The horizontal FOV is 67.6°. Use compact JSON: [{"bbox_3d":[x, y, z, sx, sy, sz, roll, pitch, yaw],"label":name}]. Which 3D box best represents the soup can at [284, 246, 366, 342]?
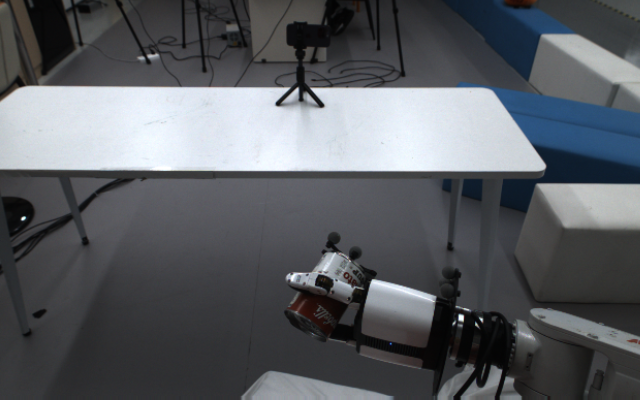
[{"bbox_3d":[0.009,0.125,0.639,0.067,0.067,0.101,22,60,26],"label":"soup can"}]
